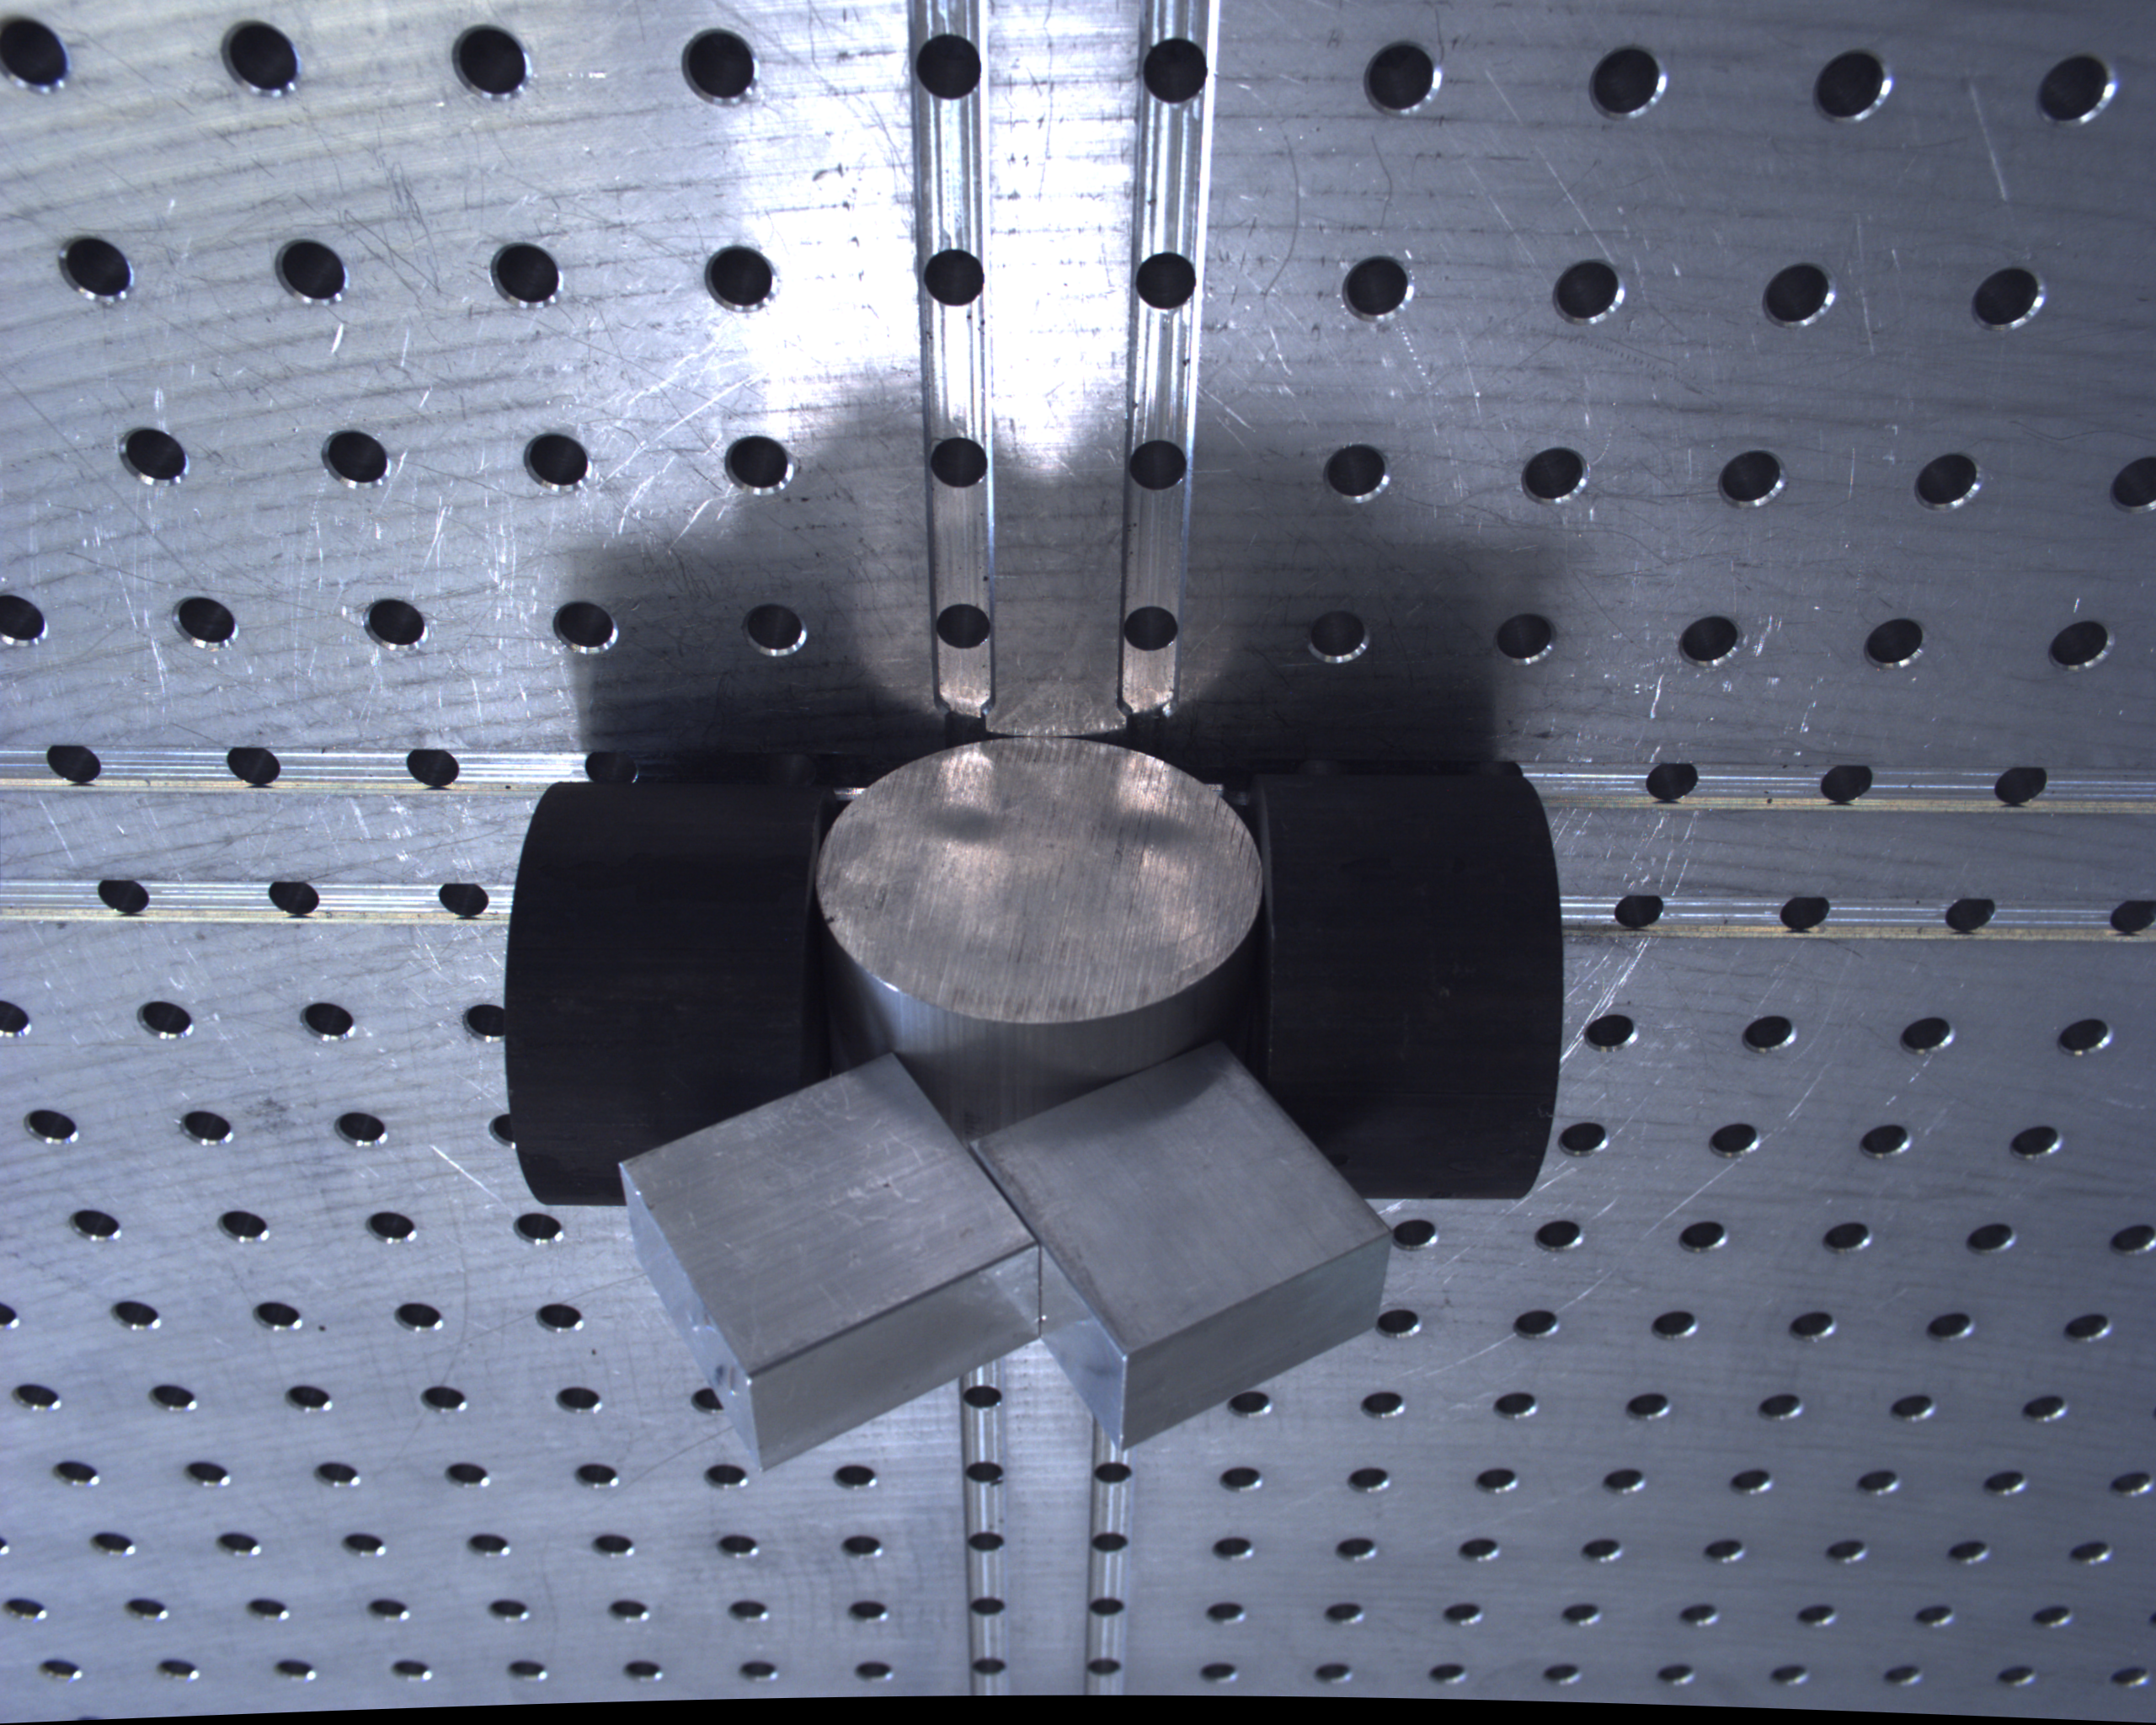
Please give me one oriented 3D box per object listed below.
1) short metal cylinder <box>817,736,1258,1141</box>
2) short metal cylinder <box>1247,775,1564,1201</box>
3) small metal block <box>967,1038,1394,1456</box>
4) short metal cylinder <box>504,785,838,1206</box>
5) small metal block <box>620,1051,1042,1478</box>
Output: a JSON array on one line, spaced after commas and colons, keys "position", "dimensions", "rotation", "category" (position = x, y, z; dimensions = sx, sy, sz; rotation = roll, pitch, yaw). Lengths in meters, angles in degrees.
[{"position": [-0.007, 0.020, 0.392], "dimensions": [0.081, 0.080, 0.050], "rotation": [1, 130, -1], "category": "short metal cylinder"}, {"position": [0.058, 0.024, 0.395], "dimensions": [0.050, 0.080, 0.079], "rotation": [1, 130, 0], "category": "short metal cylinder"}, {"position": [0.016, 0.062, 0.347], "dimensions": [0.050, 0.050, 0.025], "rotation": [-20, 135, -24], "category": "small metal block"}, {"position": [-0.073, 0.025, 0.395], "dimensions": [0.050, 0.080, 0.079], "rotation": [1, 130, -1], "category": "short metal cylinder"}, {"position": [-0.040, 0.064, 0.343], "dimensions": [0.050, 0.050, 0.025], "rotation": [-21, 135, -24], "category": "small metal block"}]
